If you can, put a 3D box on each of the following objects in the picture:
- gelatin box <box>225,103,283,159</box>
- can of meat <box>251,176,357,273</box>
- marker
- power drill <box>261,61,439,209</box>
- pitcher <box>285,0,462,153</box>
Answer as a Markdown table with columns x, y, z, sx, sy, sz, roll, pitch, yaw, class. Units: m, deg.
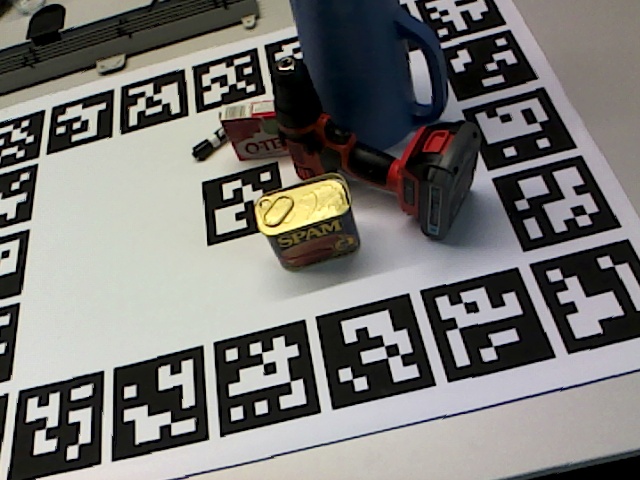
| x | y | z | sx | sy | sz | roll | pitch | yaw | class |
| --- | --- | --- | --- | --- | --- | --- | --- | --- | --- |
| -0.066 | -0.137 | 0.778 | 0.089 | 0.073 | 0.030 | -5 | 62 | 10 | gelatin box |
| -0.014 | -0.014 | 0.677 | 0.102 | 0.083 | 0.058 | -15 | 55 | 4 | can of meat |
| -0.123 | -0.156 | 0.832 | 0.121 | 0.019 | 0.020 | -38 | 58 | -9 | marker |
| 0.031 | -0.108 | 0.668 | 0.188 | 0.184 | 0.057 | 19 | 68 | 18 | power drill |
| 0.056 | -0.217 | 0.702 | 0.190 | 0.241 | 0.133 | 12 | 66 | 28 | pitcher |
